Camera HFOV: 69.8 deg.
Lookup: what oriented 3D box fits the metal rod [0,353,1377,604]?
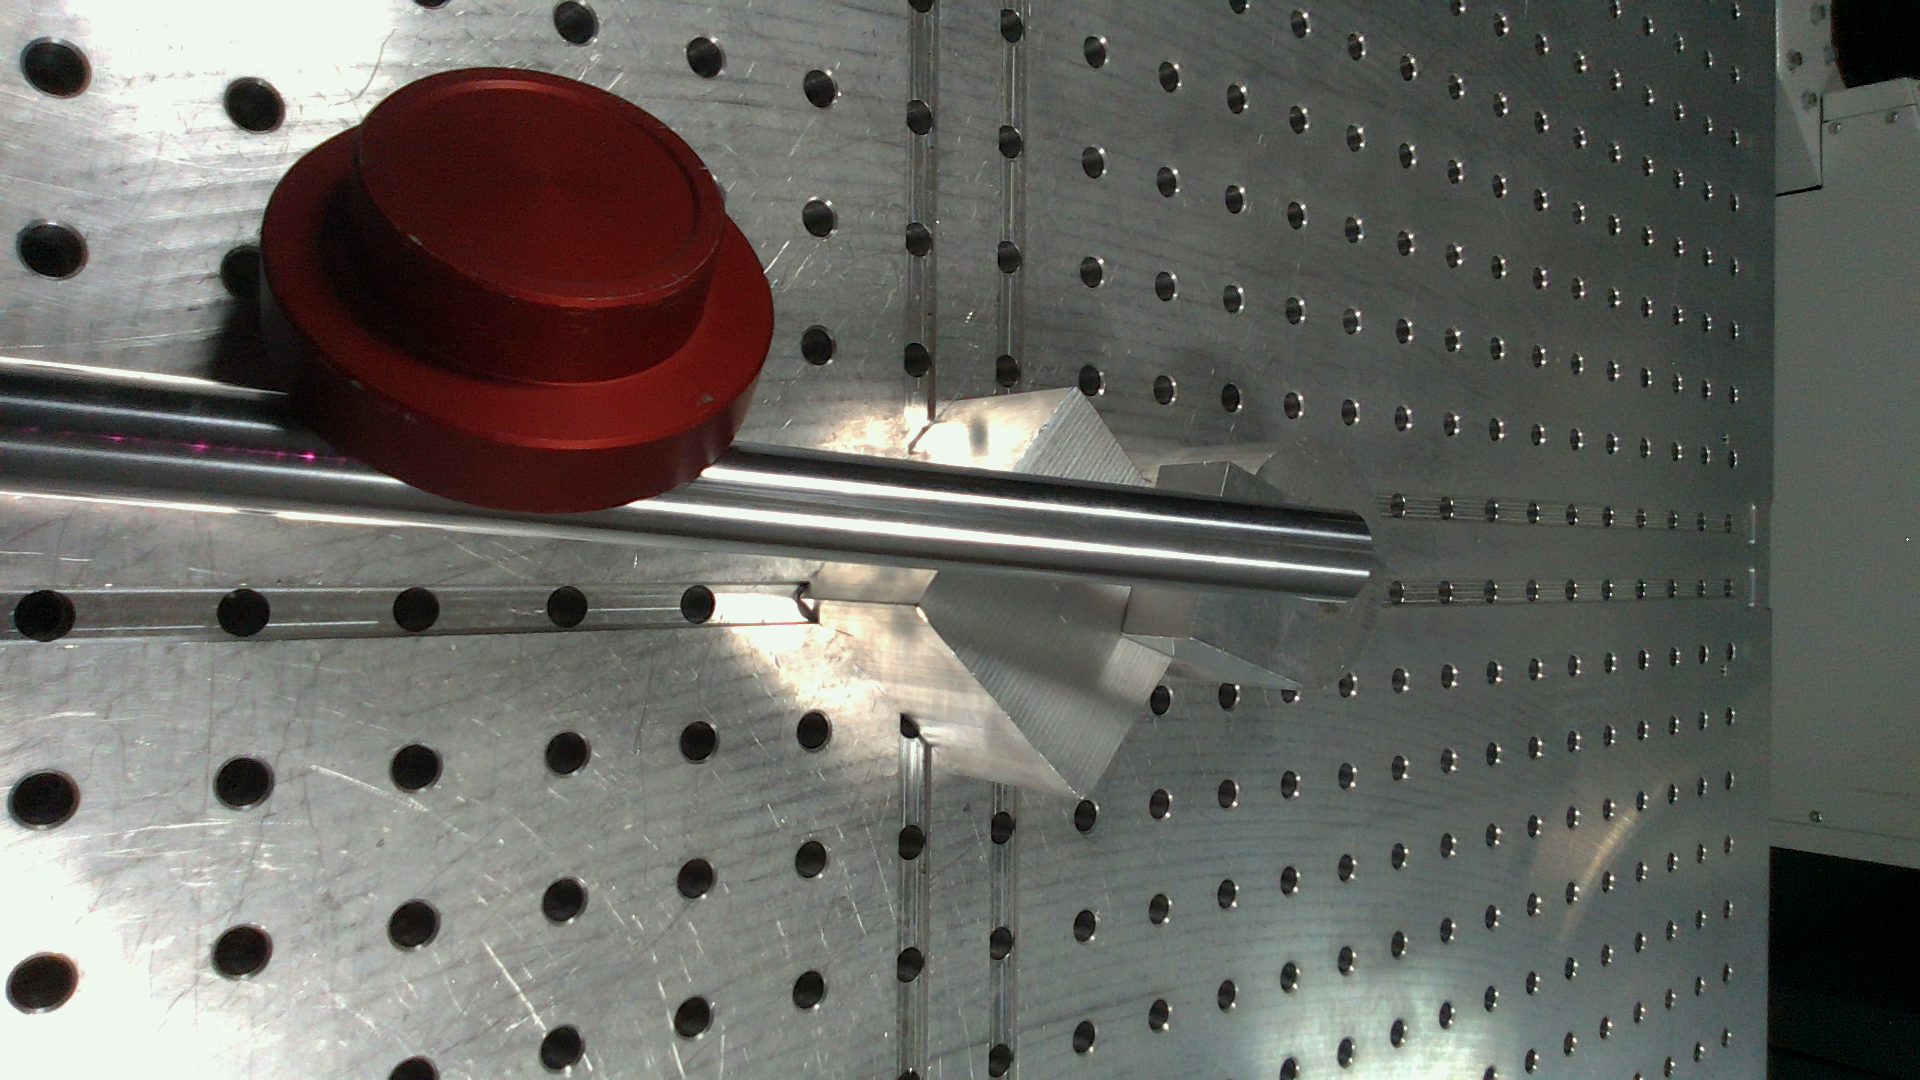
[{"bbox_3d":[-0.036,-0.008,0.305,0.301,0.025,0.025,5,86,-23],"label":"metal rod"}]

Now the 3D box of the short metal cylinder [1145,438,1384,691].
[{"bbox_3d":[0.096,0.008,0.455,0.080,0.050,0.080,0,90,-40],"label":"short metal cylinder"}]

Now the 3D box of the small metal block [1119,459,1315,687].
[{"bbox_3d":[0.076,0.010,0.387,0.050,0.025,0.050,24,75,-37],"label":"small metal block"}]

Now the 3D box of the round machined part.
[{"bbox_3d":[-0.085,-0.056,0.276,0.098,0.042,0.098,14,48,-15],"label":"round machined part"}]

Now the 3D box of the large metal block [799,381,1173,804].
[{"bbox_3d":[0.016,0.014,0.387,0.080,0.050,0.080,51,60,-28],"label":"large metal block"}]
